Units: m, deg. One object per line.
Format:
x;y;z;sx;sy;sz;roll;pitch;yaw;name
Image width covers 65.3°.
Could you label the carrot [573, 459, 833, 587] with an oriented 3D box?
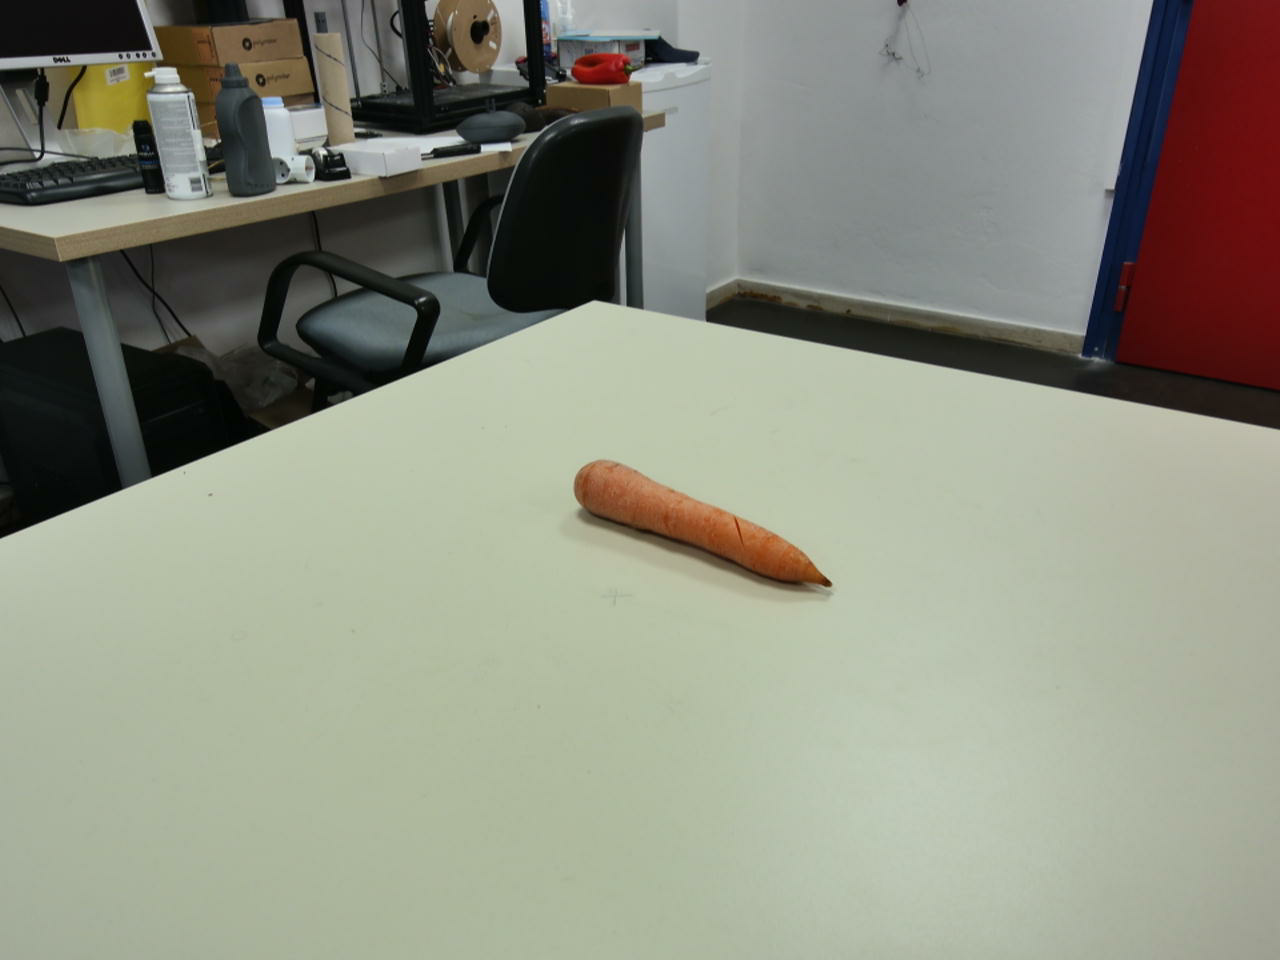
0.038;0.025;0.649;0.196;0.041;0.039;18;30;32;carrot
